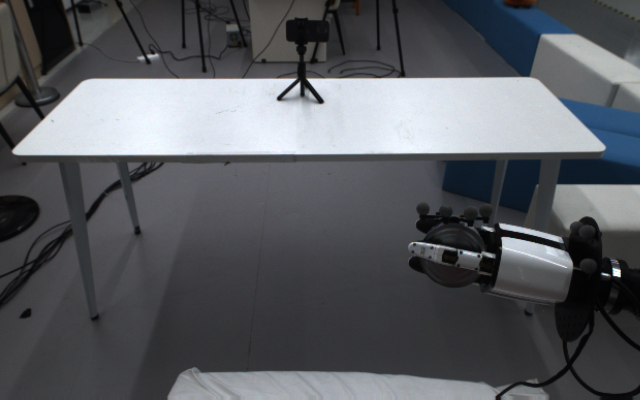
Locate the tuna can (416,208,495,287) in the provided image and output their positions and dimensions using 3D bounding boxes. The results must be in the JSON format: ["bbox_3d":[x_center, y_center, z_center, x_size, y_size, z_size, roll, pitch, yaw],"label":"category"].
[{"bbox_3d":[0.178,0.070,0.642,0.085,0.085,0.034,13,7,15],"label":"tuna can"}]
